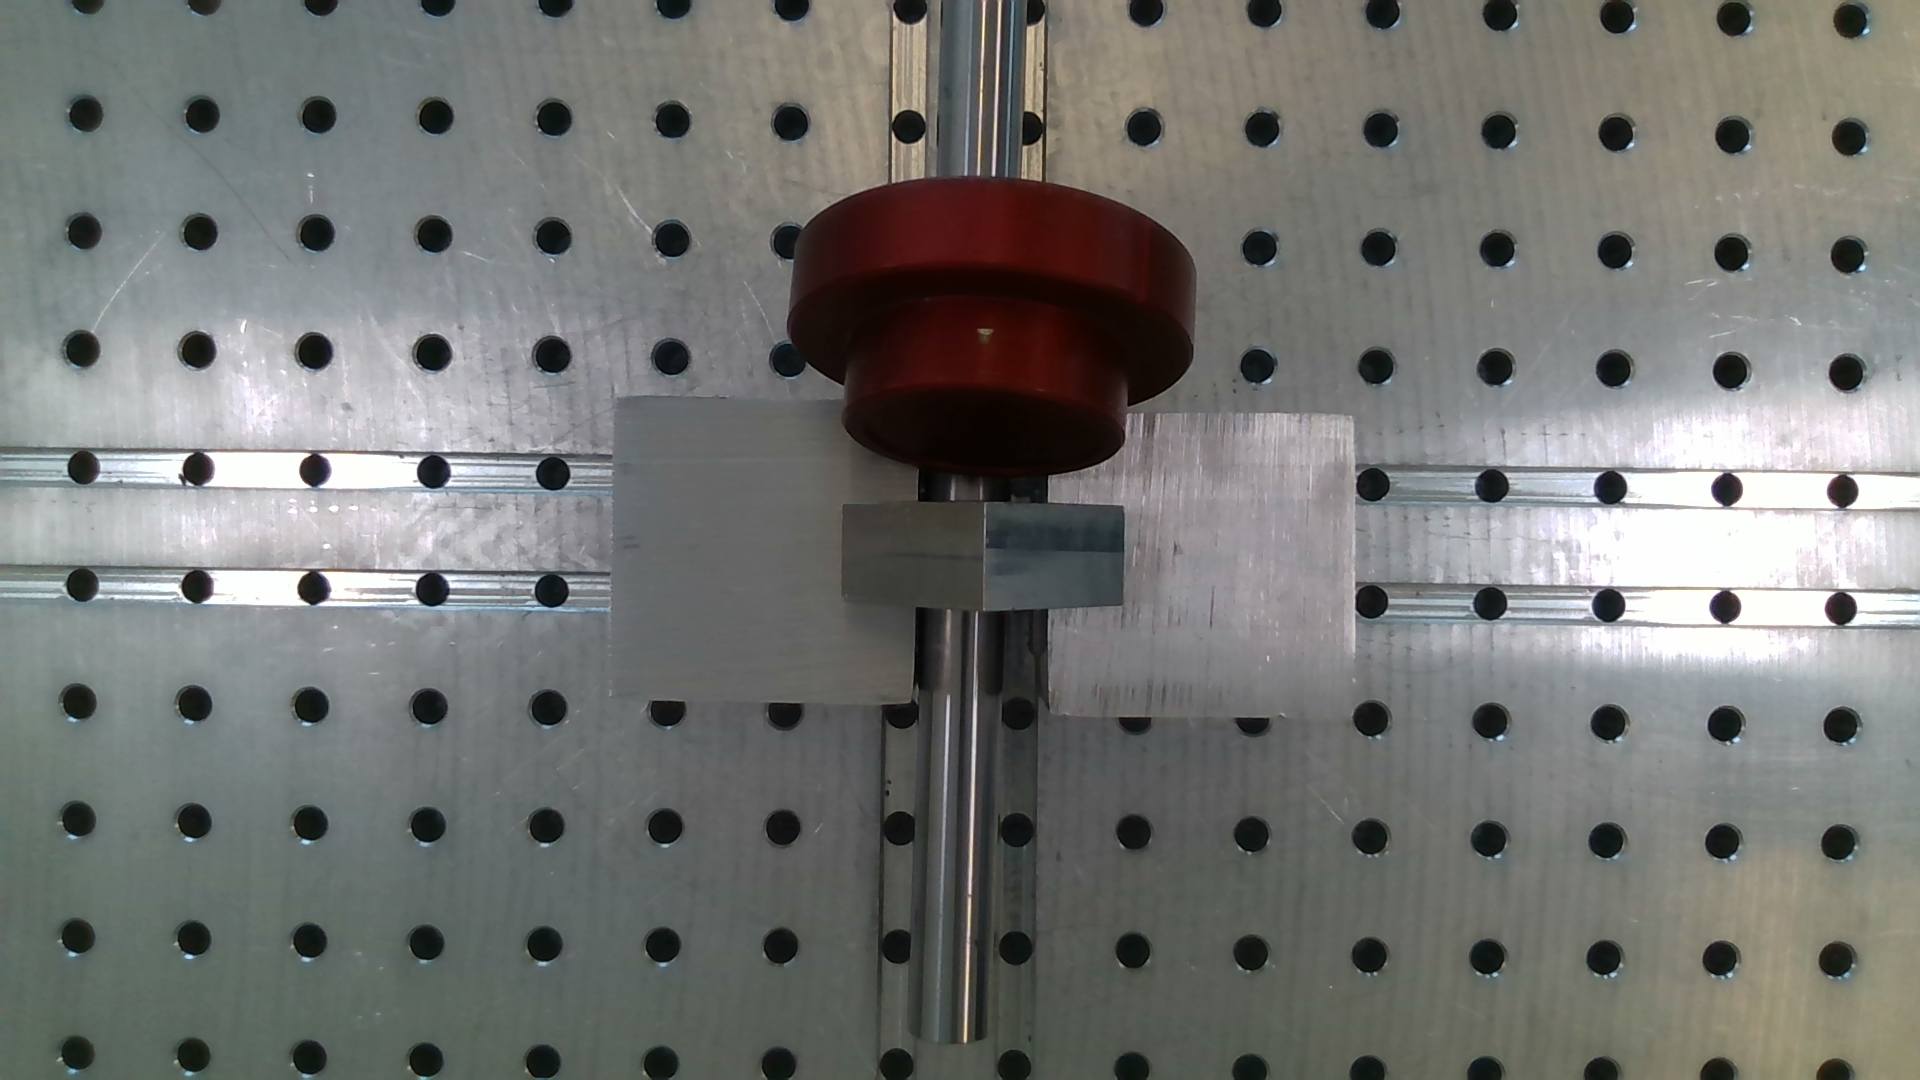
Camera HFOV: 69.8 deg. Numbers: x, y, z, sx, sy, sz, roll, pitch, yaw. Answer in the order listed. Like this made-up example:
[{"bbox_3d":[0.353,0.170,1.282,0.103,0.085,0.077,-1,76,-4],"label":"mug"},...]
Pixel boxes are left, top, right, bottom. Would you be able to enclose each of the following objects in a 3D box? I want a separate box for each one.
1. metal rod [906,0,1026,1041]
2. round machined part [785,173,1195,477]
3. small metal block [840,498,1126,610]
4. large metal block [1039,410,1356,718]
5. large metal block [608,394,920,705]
[{"bbox_3d":[0.002,-0.009,0.397,0.025,0.025,0.300,2,90,0],"label":"metal rod"},{"bbox_3d":[0.007,-0.045,0.332,0.098,0.098,0.042,4,76,0],"label":"round machined part"},{"bbox_3d":[0.006,0.003,0.341,0.050,0.050,0.025,1,90,-44],"label":"small metal block"},{"bbox_3d":[0.063,0.006,0.385,0.080,0.050,0.080,1,90,0],"label":"large metal block"},{"bbox_3d":[-0.051,0.003,0.386,0.080,0.050,0.080,1,90,0],"label":"large metal block"}]
